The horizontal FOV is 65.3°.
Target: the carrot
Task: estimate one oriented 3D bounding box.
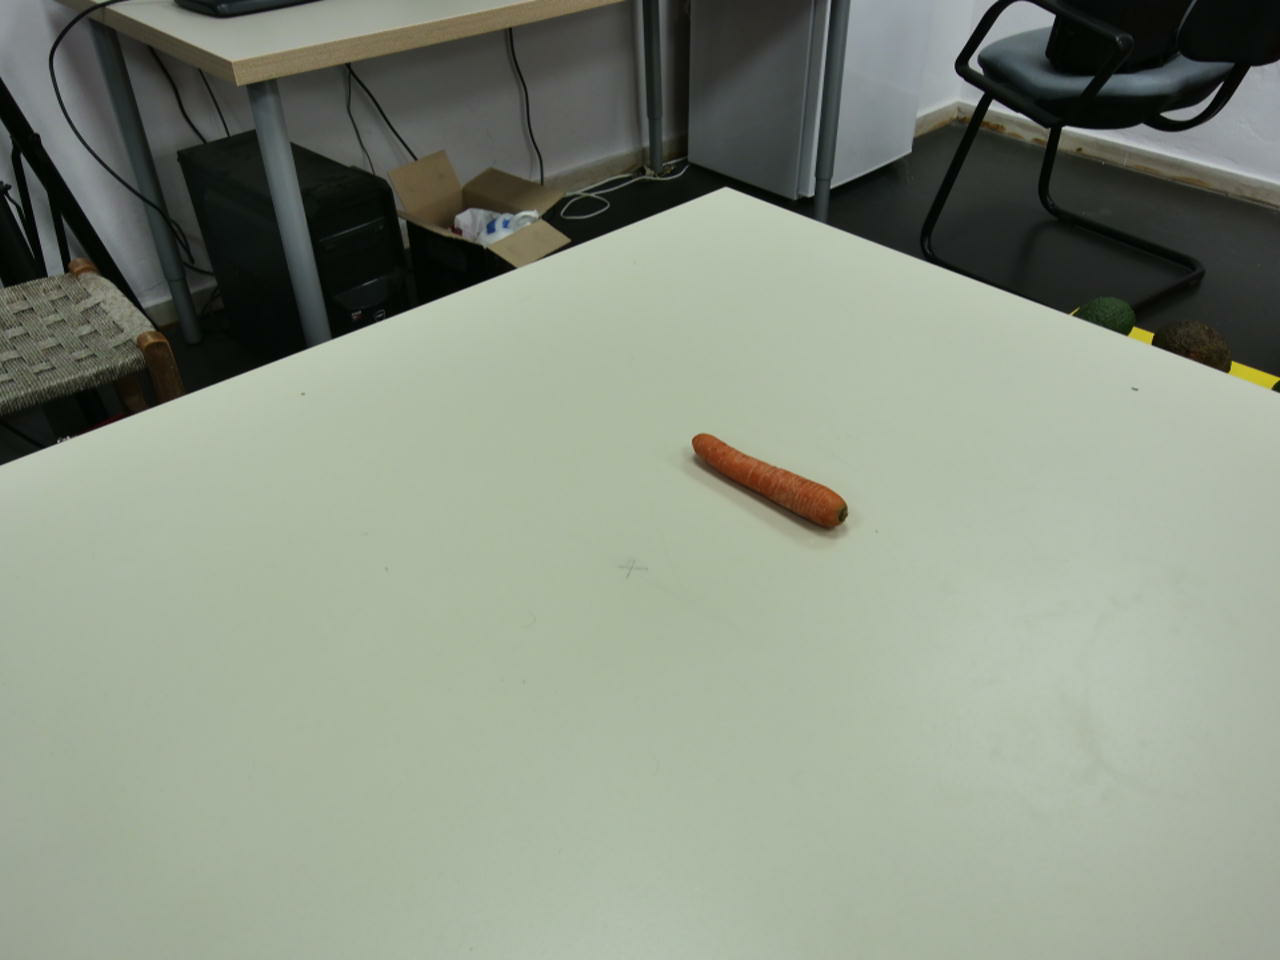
[{"bbox_3d":[0.079,-0.002,0.631,0.024,0.023,0.122,-30,46,-34],"label":"carrot"}]
